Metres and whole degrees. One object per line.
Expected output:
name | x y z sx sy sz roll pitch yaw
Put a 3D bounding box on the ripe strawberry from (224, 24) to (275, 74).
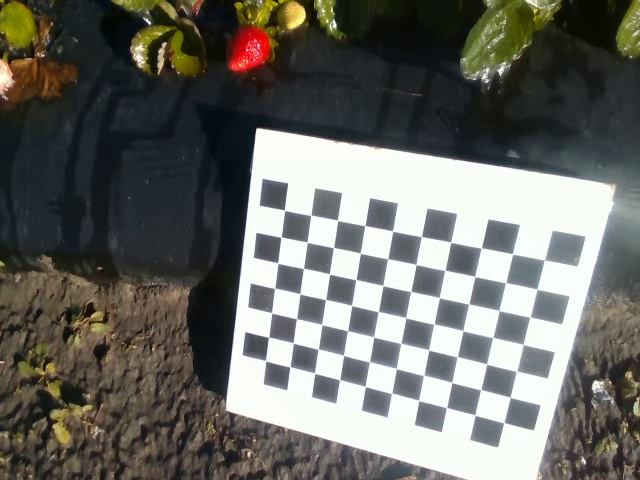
ripe strawberry | -0.051 -0.123 0.444 0.039 0.040 0.039 4 39 27
